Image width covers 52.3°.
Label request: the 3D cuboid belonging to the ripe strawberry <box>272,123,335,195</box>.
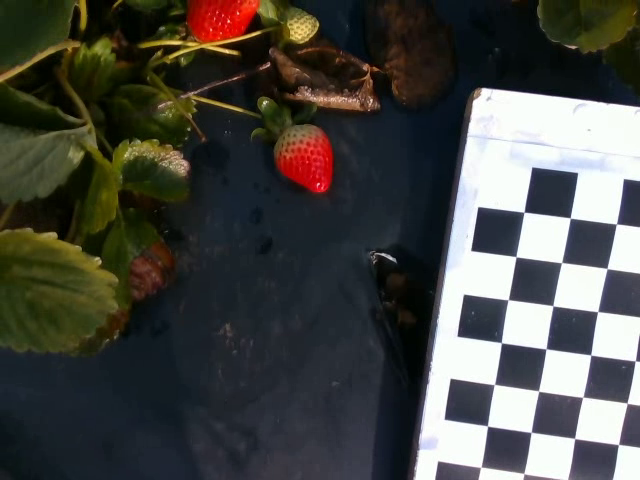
[{"bbox_3d":[-0.008,-0.043,0.343,0.035,0.043,0.029,-29,0,4],"label":"ripe strawberry"}]
